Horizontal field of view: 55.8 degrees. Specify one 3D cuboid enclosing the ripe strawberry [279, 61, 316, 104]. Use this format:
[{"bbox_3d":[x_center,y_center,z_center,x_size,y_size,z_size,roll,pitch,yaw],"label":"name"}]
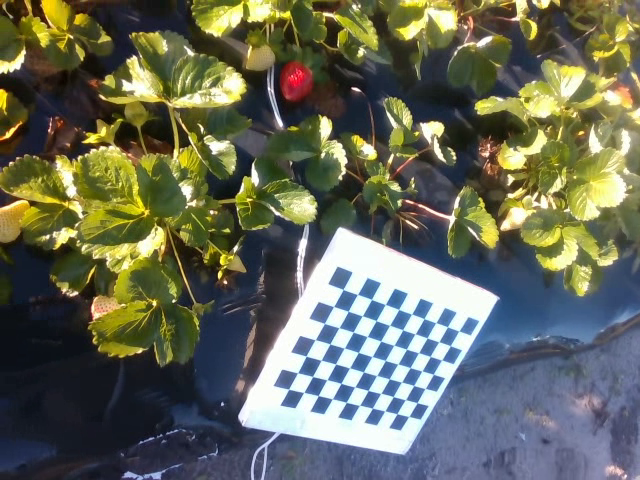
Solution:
[{"bbox_3d":[-0.028,-0.221,0.842,0.040,0.080,0.063,-8,-48,31],"label":"ripe strawberry"}]
